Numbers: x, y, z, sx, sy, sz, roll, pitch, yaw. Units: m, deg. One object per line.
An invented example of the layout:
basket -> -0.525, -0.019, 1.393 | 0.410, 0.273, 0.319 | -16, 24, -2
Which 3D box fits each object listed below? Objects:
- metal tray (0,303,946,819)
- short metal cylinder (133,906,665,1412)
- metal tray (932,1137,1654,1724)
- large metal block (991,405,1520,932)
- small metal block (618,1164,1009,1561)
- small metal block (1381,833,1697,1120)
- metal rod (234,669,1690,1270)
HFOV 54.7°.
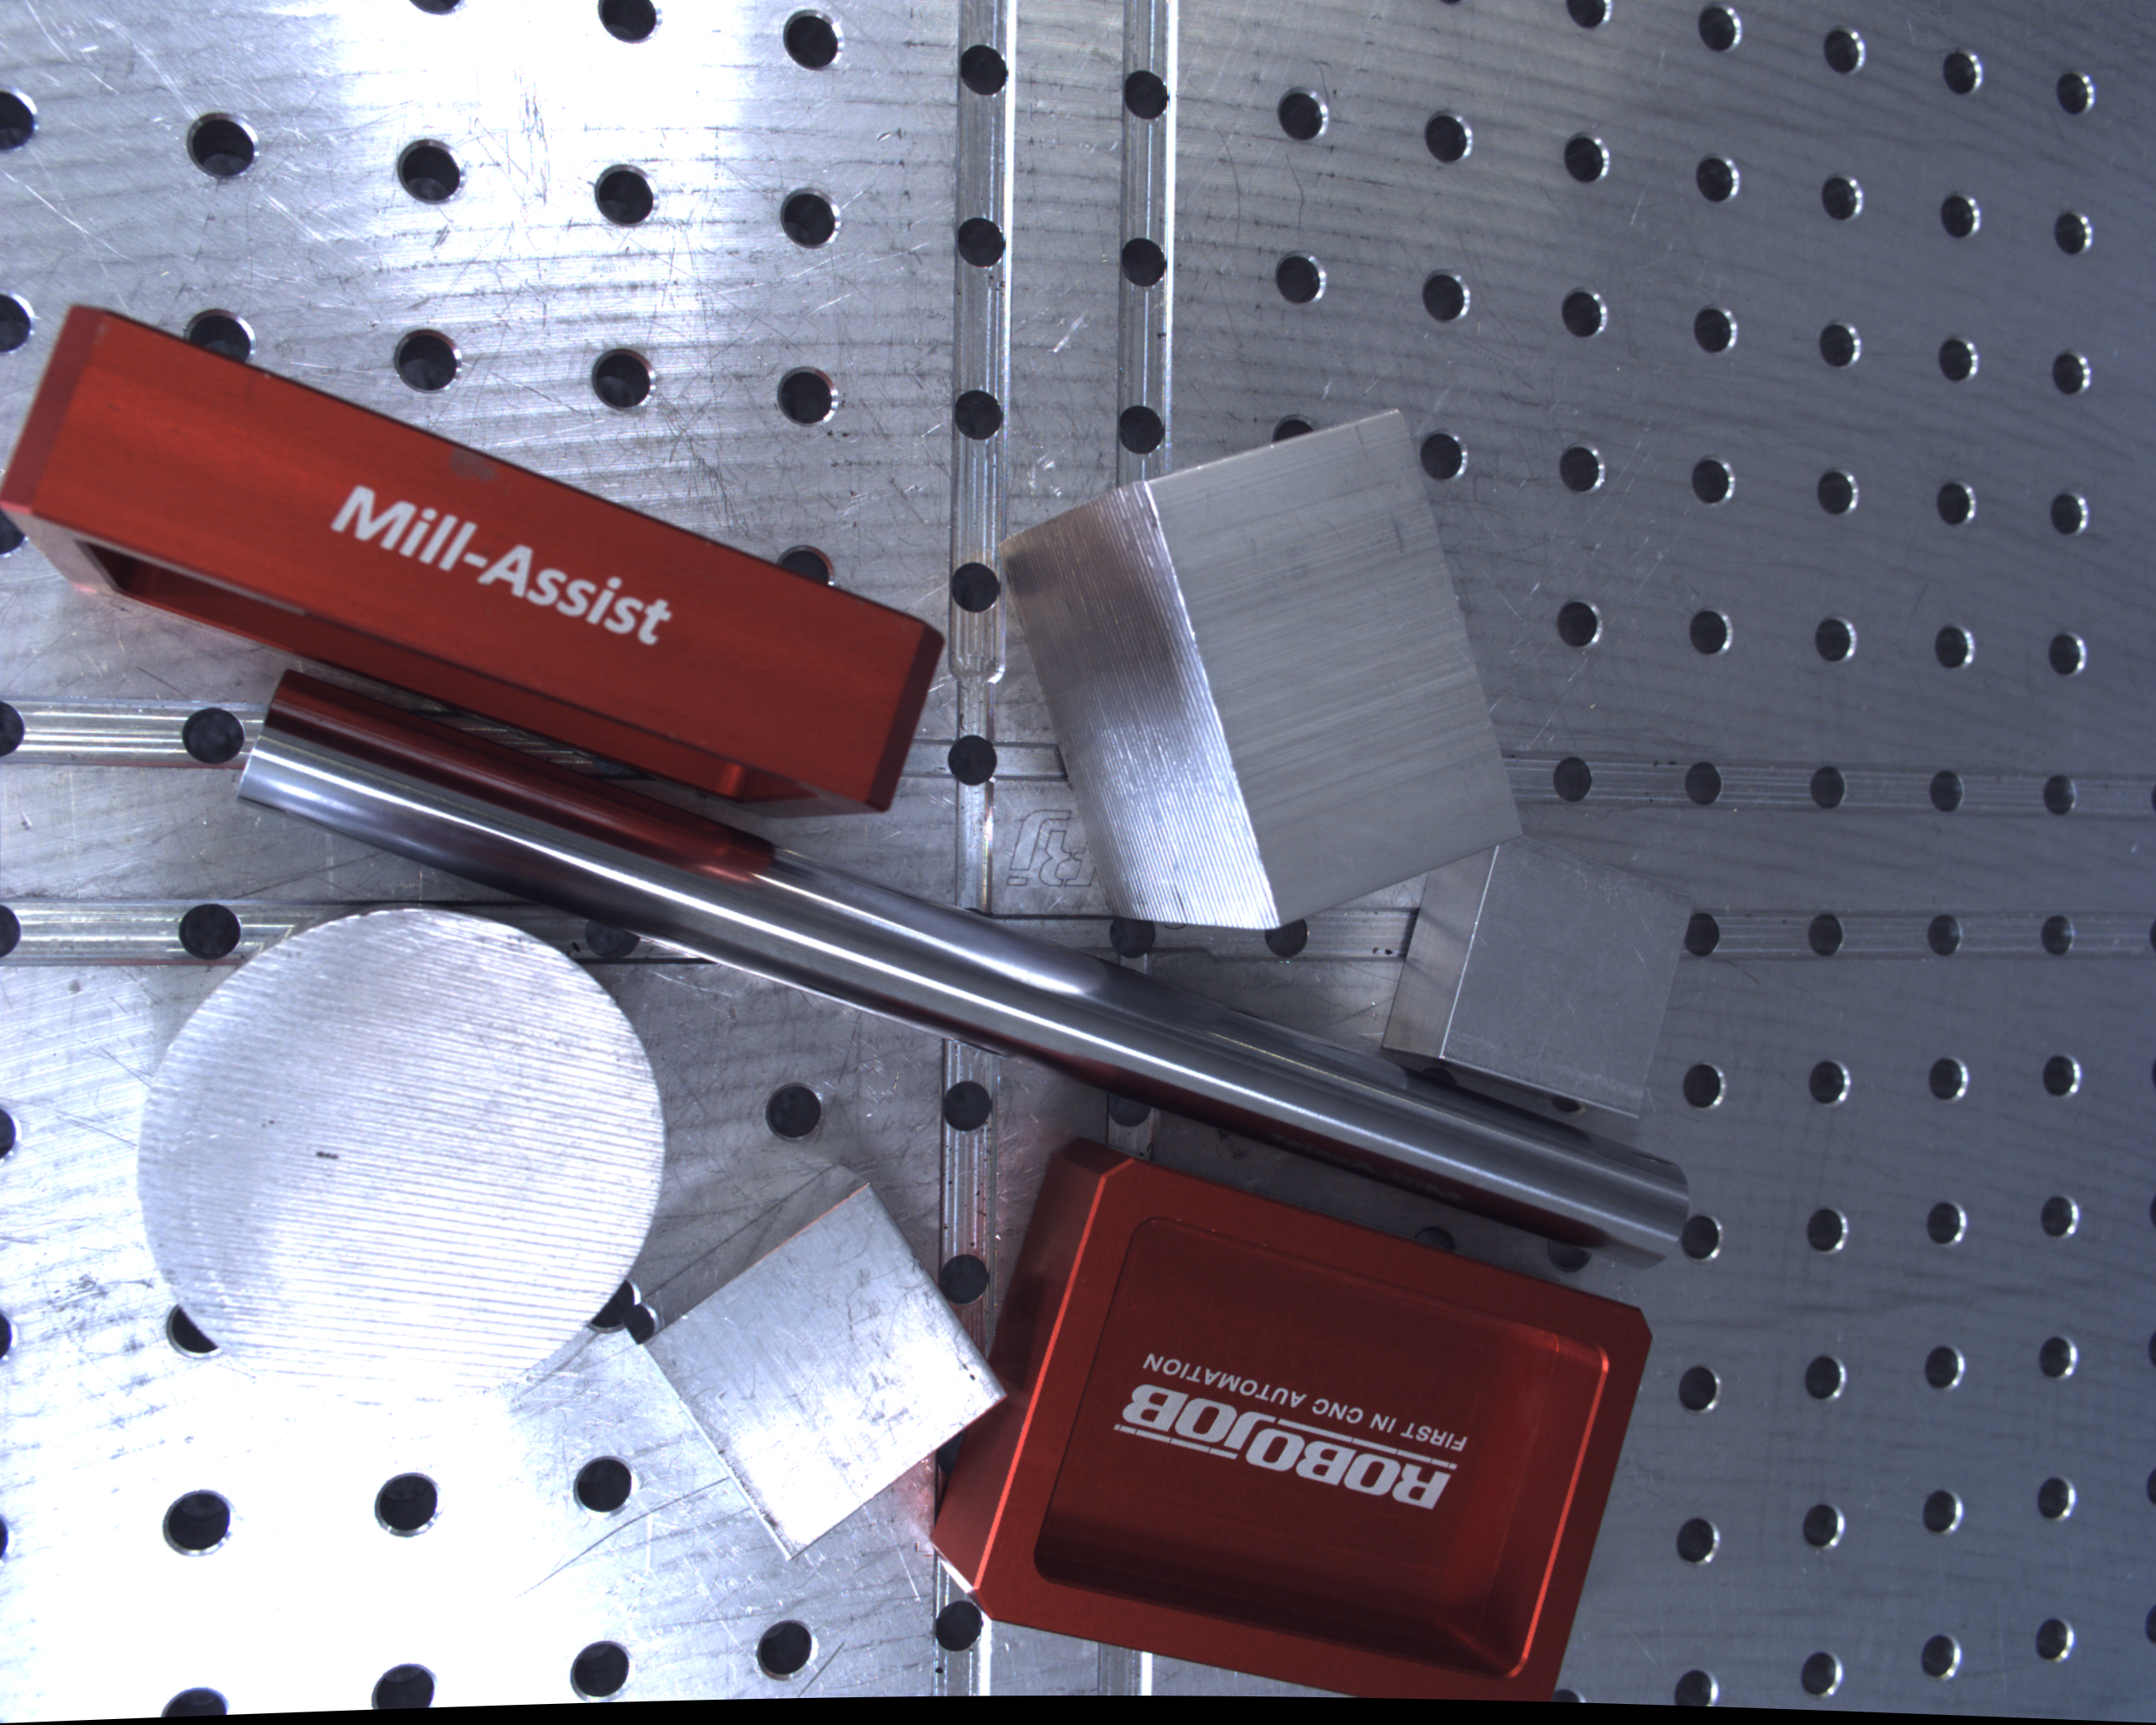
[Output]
metal tray -> -0.097, -0.042, 0.341 | 0.131, 0.090, 0.030 | 20, 84, -19
short metal cylinder -> -0.115, 0.047, 0.356 | 0.081, 0.050, 0.080 | 0, 90, -20
metal tray -> 0.046, 0.117, 0.426 | 0.131, 0.030, 0.090 | 19, 84, -19
large metal block -> 0.031, -0.034, 0.396 | 0.050, 0.080, 0.080 | -20, 97, -19
small metal block -> -0.050, 0.093, 0.395 | 0.050, 0.025, 0.050 | -34, 101, -17
small metal block -> 0.099, 0.024, 0.449 | 0.050, 0.025, 0.050 | 18, 84, -19
metal rod -> -0.008, 0.028, 0.410 | 0.302, 0.025, 0.025 | 20, 83, -19
